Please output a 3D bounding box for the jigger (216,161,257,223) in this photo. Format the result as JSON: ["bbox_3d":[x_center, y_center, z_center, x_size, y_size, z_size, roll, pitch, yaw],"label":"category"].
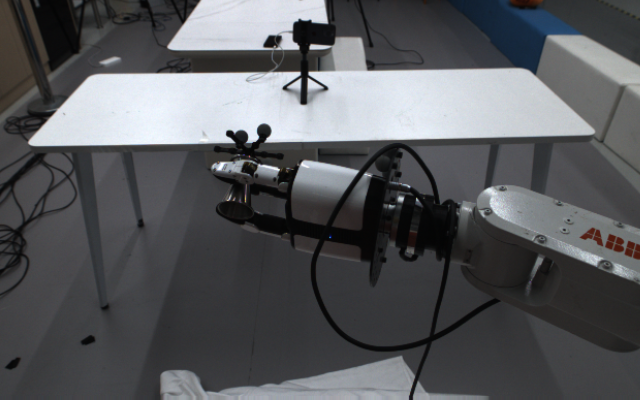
[{"bbox_3d":[-0.100,-0.017,0.591,0.043,0.043,0.071,6,60,6],"label":"jigger"}]
